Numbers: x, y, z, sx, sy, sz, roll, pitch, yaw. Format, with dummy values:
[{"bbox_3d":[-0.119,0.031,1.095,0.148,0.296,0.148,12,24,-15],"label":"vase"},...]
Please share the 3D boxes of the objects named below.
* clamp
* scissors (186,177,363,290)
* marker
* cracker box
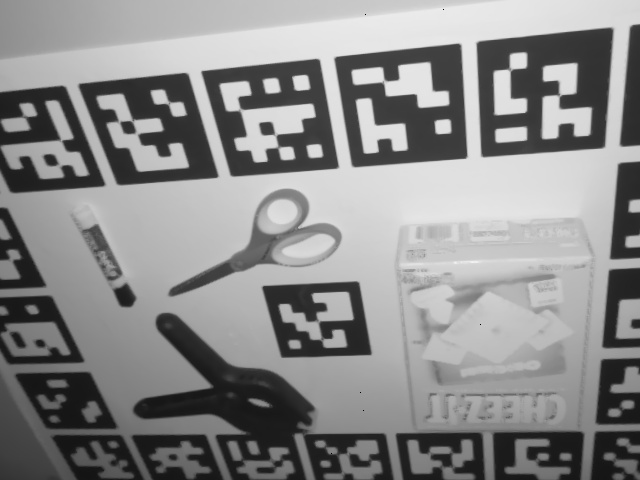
[{"bbox_3d":[-0.081,0.166,0.781,0.203,0.037,0.163,24,124,-7],"label":"clamp"},{"bbox_3d":[-0.053,0.011,0.671,0.200,0.016,0.088,-27,117,25],"label":"scissors"},{"bbox_3d":[-0.194,0.010,0.688,0.019,0.020,0.120,-5,123,11],"label":"marker"},{"bbox_3d":[0.182,0.087,0.659,0.164,0.073,0.212,-1,123,8],"label":"cracker box"}]
